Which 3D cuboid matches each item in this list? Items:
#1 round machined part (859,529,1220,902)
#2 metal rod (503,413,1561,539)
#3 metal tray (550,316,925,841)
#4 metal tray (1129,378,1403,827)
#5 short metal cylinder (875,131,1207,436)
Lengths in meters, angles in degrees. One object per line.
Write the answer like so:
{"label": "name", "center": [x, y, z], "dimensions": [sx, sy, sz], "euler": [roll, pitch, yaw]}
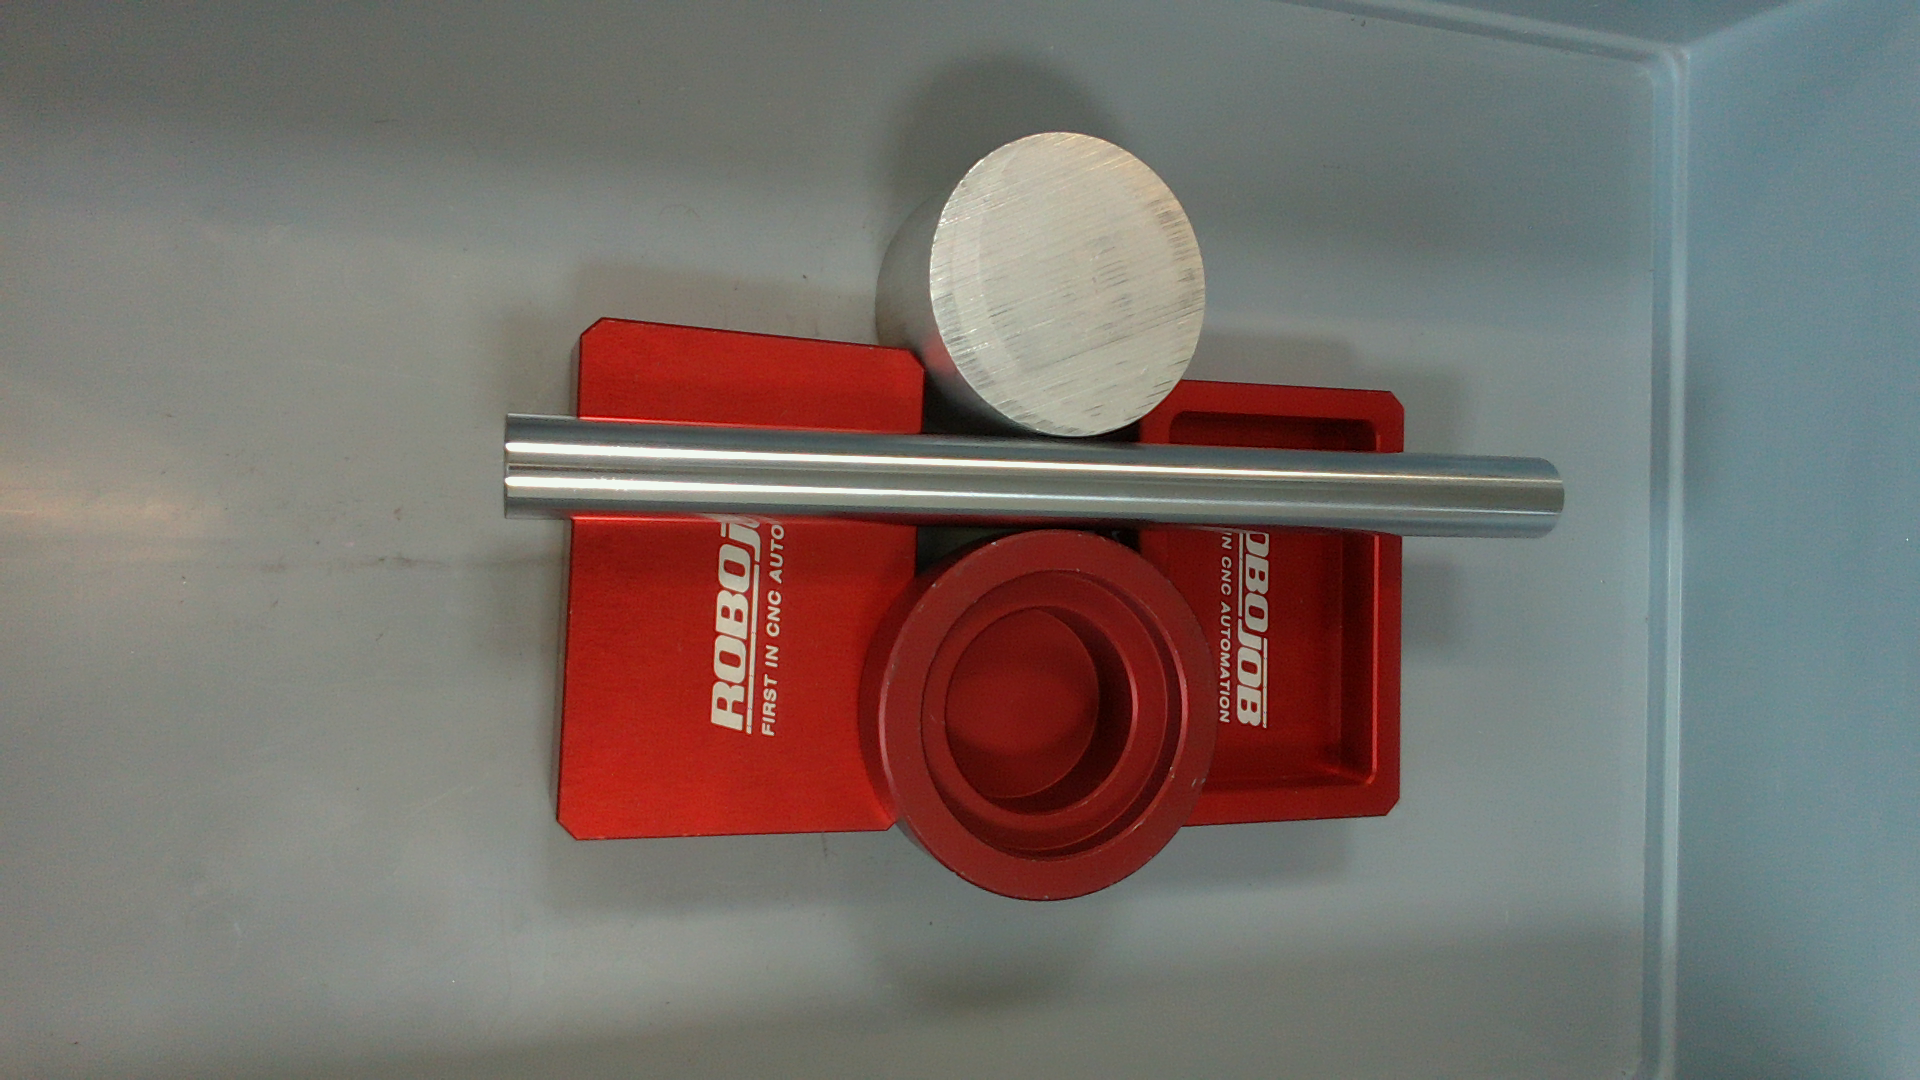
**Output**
{"label": "round machined part", "center": [0.019, 0.046, 0.380], "dimensions": [0.098, 0.042, 0.098], "euler": [0, 90, -20]}
{"label": "metal rod", "center": [0.035, -0.015, 0.372], "dimensions": [0.301, 0.025, 0.025], "euler": [1, 90, -20]}
{"label": "metal tray", "center": [-0.059, 0.011, 0.367], "dimensions": [0.090, 0.030, 0.130], "euler": [3, 89, -20]}
{"label": "metal tray", "center": [0.089, 0.019, 0.422], "dimensions": [0.090, 0.030, 0.130], "euler": [1, 90, -20]}
{"label": "short metal cylinder", "center": [0.022, -0.068, 0.386], "dimensions": [0.080, 0.050, 0.080], "euler": [0, 90, -20]}
